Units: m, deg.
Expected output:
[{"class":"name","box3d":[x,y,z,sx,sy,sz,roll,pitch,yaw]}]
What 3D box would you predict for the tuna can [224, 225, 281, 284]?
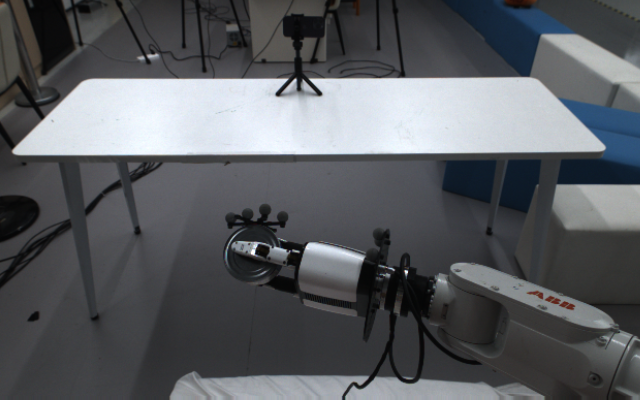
[{"class":"tuna can","box3d":[-0.090,0.082,0.710,0.085,0.034,0.085,-2,69,6]}]
